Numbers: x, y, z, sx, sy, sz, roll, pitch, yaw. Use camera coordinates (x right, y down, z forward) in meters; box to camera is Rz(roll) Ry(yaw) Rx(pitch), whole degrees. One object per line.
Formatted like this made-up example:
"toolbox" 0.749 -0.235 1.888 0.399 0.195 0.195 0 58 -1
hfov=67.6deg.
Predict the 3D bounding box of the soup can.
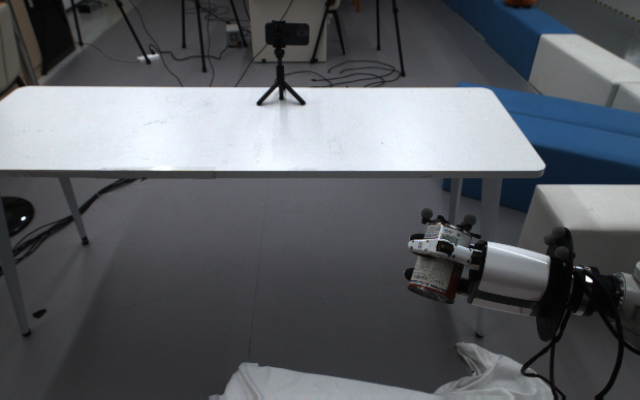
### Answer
"soup can" 0.177 0.091 0.704 0.067 0.067 0.101 15 75 18
